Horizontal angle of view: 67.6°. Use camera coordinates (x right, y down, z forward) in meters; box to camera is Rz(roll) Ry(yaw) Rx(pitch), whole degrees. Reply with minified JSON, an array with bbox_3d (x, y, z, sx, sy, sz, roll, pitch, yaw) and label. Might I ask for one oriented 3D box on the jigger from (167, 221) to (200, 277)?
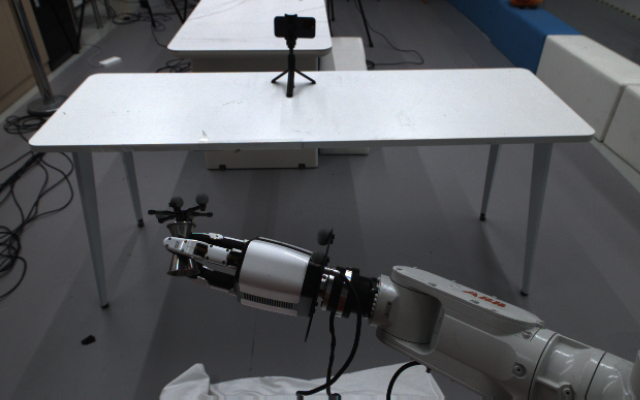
[{"bbox_3d":[-0.189,0.068,0.664,0.043,0.043,0.071,-5,72,-9],"label":"jigger"}]
